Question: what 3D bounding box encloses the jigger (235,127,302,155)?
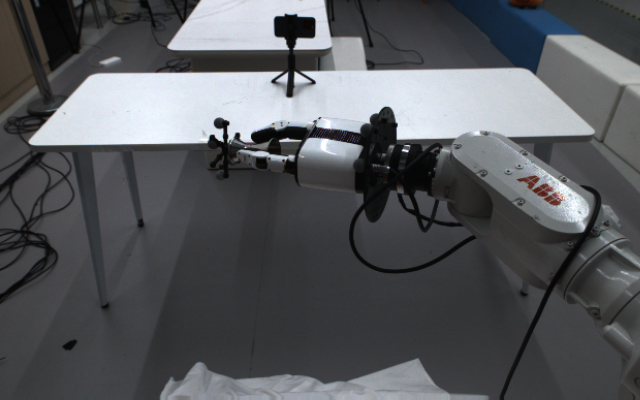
[{"bbox_3d":[-0.093,-0.076,0.730,0.071,0.043,0.043,5,34,21],"label":"jigger"}]
